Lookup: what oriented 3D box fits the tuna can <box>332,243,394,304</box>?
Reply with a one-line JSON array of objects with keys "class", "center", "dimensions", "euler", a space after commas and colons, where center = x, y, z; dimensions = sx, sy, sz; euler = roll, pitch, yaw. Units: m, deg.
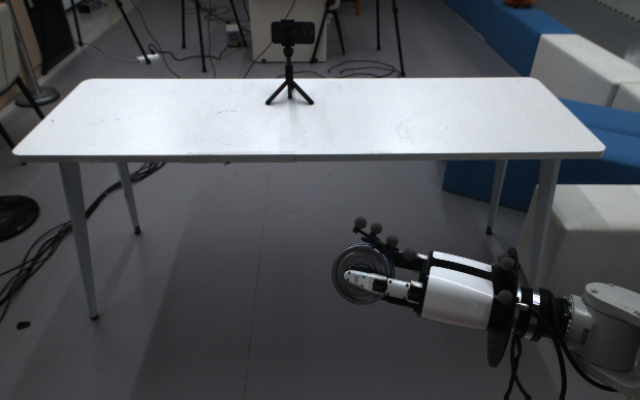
[{"class": "tuna can", "center": [0.064, 0.109, 0.676], "dimensions": [0.085, 0.085, 0.034], "euler": [13, 4, 15]}]
